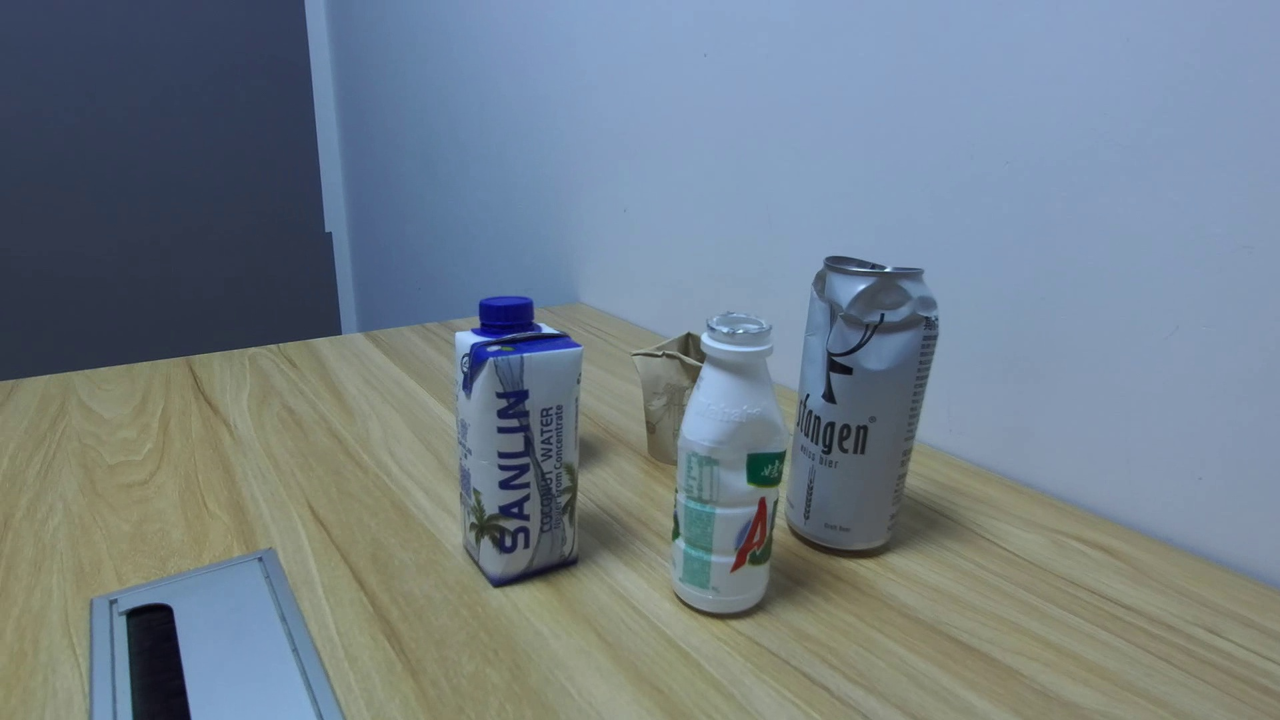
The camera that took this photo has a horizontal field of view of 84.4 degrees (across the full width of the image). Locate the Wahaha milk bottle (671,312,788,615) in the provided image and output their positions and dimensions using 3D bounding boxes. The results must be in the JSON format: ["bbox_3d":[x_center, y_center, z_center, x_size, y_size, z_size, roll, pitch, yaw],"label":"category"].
[{"bbox_3d":[0.045,0.052,0.346,0.055,0.149,0.055,3,22,-1],"label":"Wahaha milk bottle"}]

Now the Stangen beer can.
[{"bbox_3d":[0.125,0.026,0.408,0.066,0.166,0.066,2,18,-2],"label":"Stangen beer can"}]

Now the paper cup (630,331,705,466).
[{"bbox_3d":[0.029,0.030,0.519,0.058,0.083,0.066,-9,15,-22],"label":"paper cup"}]

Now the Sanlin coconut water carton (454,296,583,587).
[{"bbox_3d":[-0.064,0.042,0.380,0.061,0.144,0.060,-9,21,-31],"label":"Sanlin coconut water carton"}]
